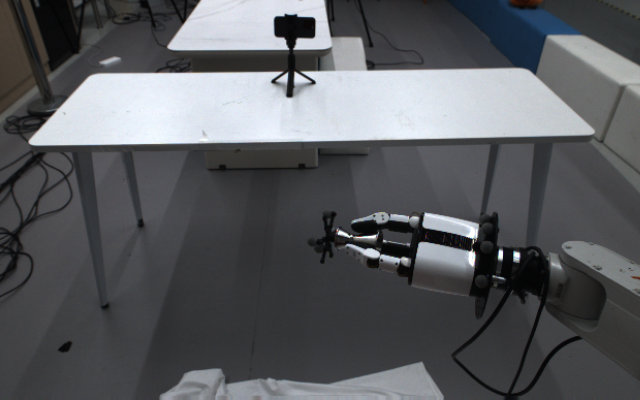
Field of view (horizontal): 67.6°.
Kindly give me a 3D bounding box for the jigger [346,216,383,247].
[{"bbox_3d":[0.068,0.058,0.762,0.071,0.043,0.043,5,34,20],"label":"jigger"}]
